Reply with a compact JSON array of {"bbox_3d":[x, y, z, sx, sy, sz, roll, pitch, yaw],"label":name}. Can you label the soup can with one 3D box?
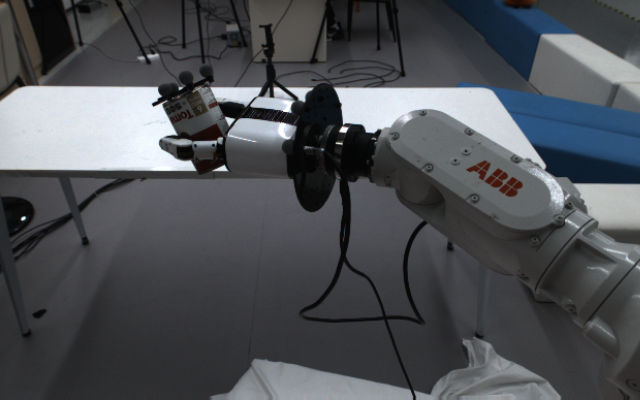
[{"bbox_3d":[-0.155,-0.092,0.646,0.067,0.101,0.067,-23,16,7],"label":"soup can"}]
